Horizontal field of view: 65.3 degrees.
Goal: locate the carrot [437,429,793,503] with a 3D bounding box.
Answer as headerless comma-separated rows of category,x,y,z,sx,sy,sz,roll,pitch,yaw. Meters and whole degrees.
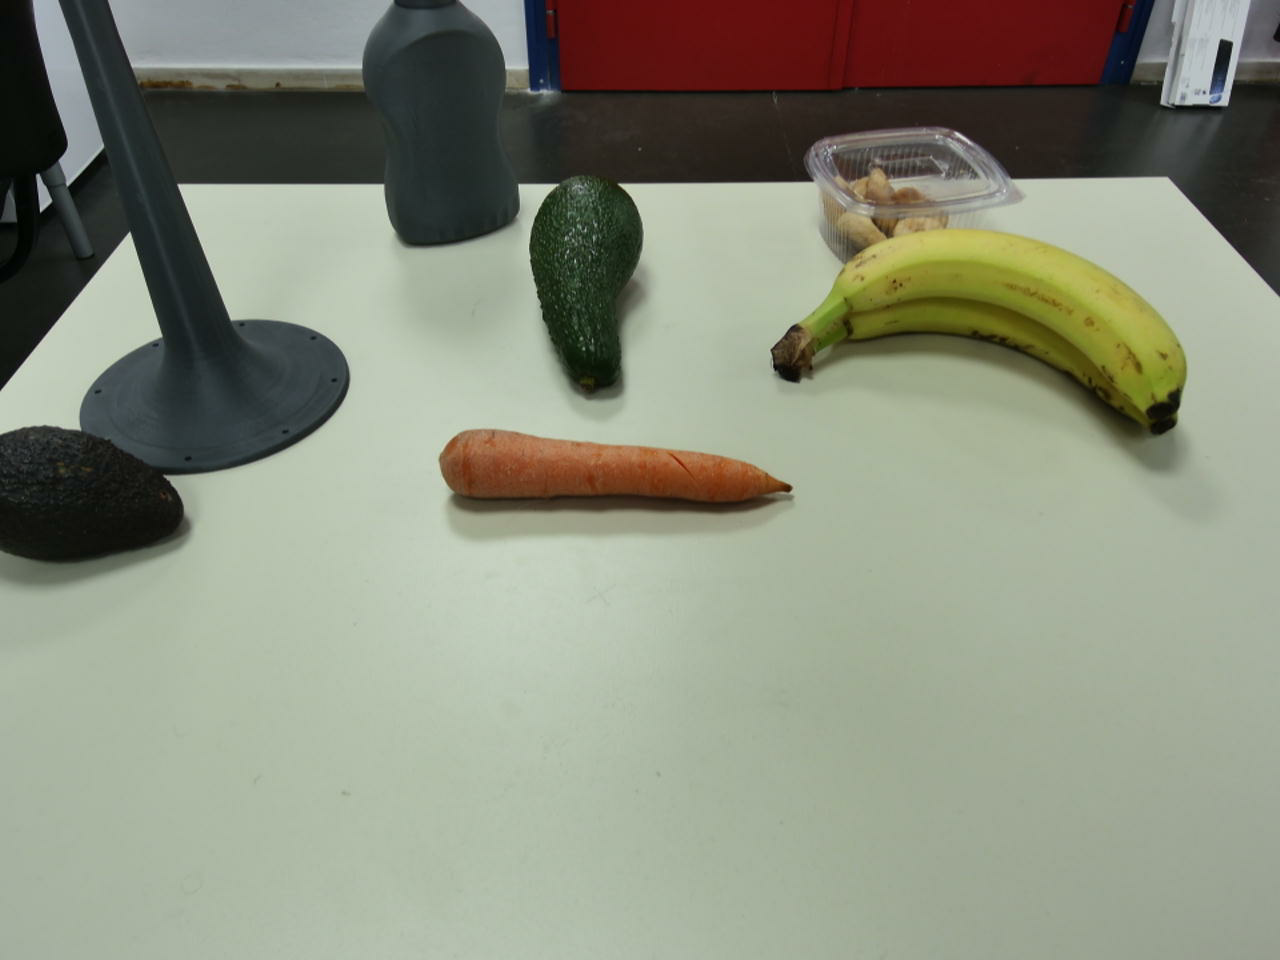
carrot,-0.012,-0.008,0.552,0.196,0.041,0.039,1,39,0
